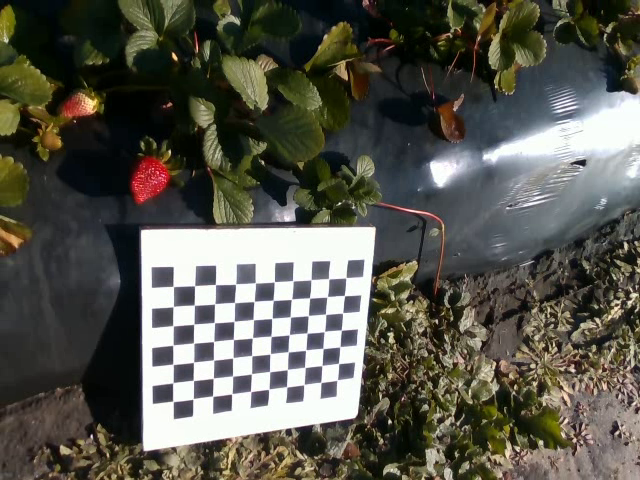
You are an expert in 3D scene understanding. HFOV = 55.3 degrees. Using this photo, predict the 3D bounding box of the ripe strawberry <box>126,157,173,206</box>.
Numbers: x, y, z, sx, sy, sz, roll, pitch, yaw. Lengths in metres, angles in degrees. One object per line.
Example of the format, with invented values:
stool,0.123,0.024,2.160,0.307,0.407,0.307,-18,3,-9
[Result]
ripe strawberry,-0.188,-0.063,0.642,0.058,0.066,0.062,-33,30,20
